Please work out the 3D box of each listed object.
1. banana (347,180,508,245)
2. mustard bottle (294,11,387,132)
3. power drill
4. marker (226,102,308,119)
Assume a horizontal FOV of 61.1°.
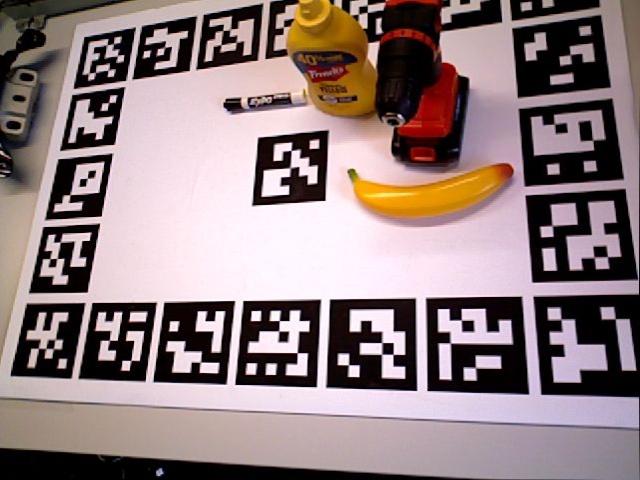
[{"bbox_3d":[0.120,-0.030,0.652,0.198,0.039,0.074,8,78,21],"label":"banana"},{"bbox_3d":[0.021,-0.200,0.647,0.096,0.192,0.058,11,75,18],"label":"mustard bottle"},{"bbox_3d":[0.112,-0.144,0.584,0.057,0.188,0.183,15,75,18],"label":"power drill"},{"bbox_3d":[-0.077,-0.182,0.766,0.121,0.020,0.019,2,75,18],"label":"marker"}]
